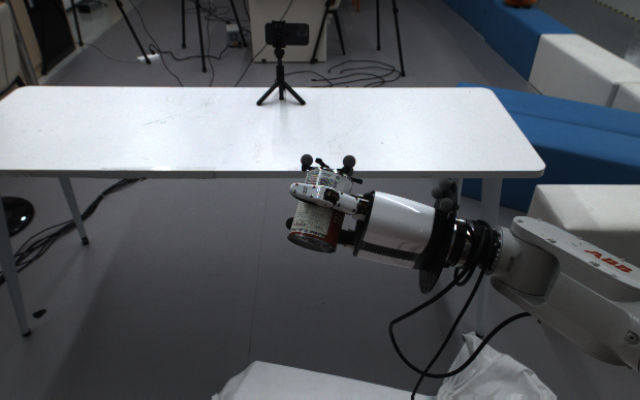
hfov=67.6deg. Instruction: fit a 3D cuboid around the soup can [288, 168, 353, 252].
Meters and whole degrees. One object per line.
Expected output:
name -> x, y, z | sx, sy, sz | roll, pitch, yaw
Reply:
soup can -> 0.003, 0.014, 0.663 | 0.067, 0.067, 0.101 | 11, 72, 13
